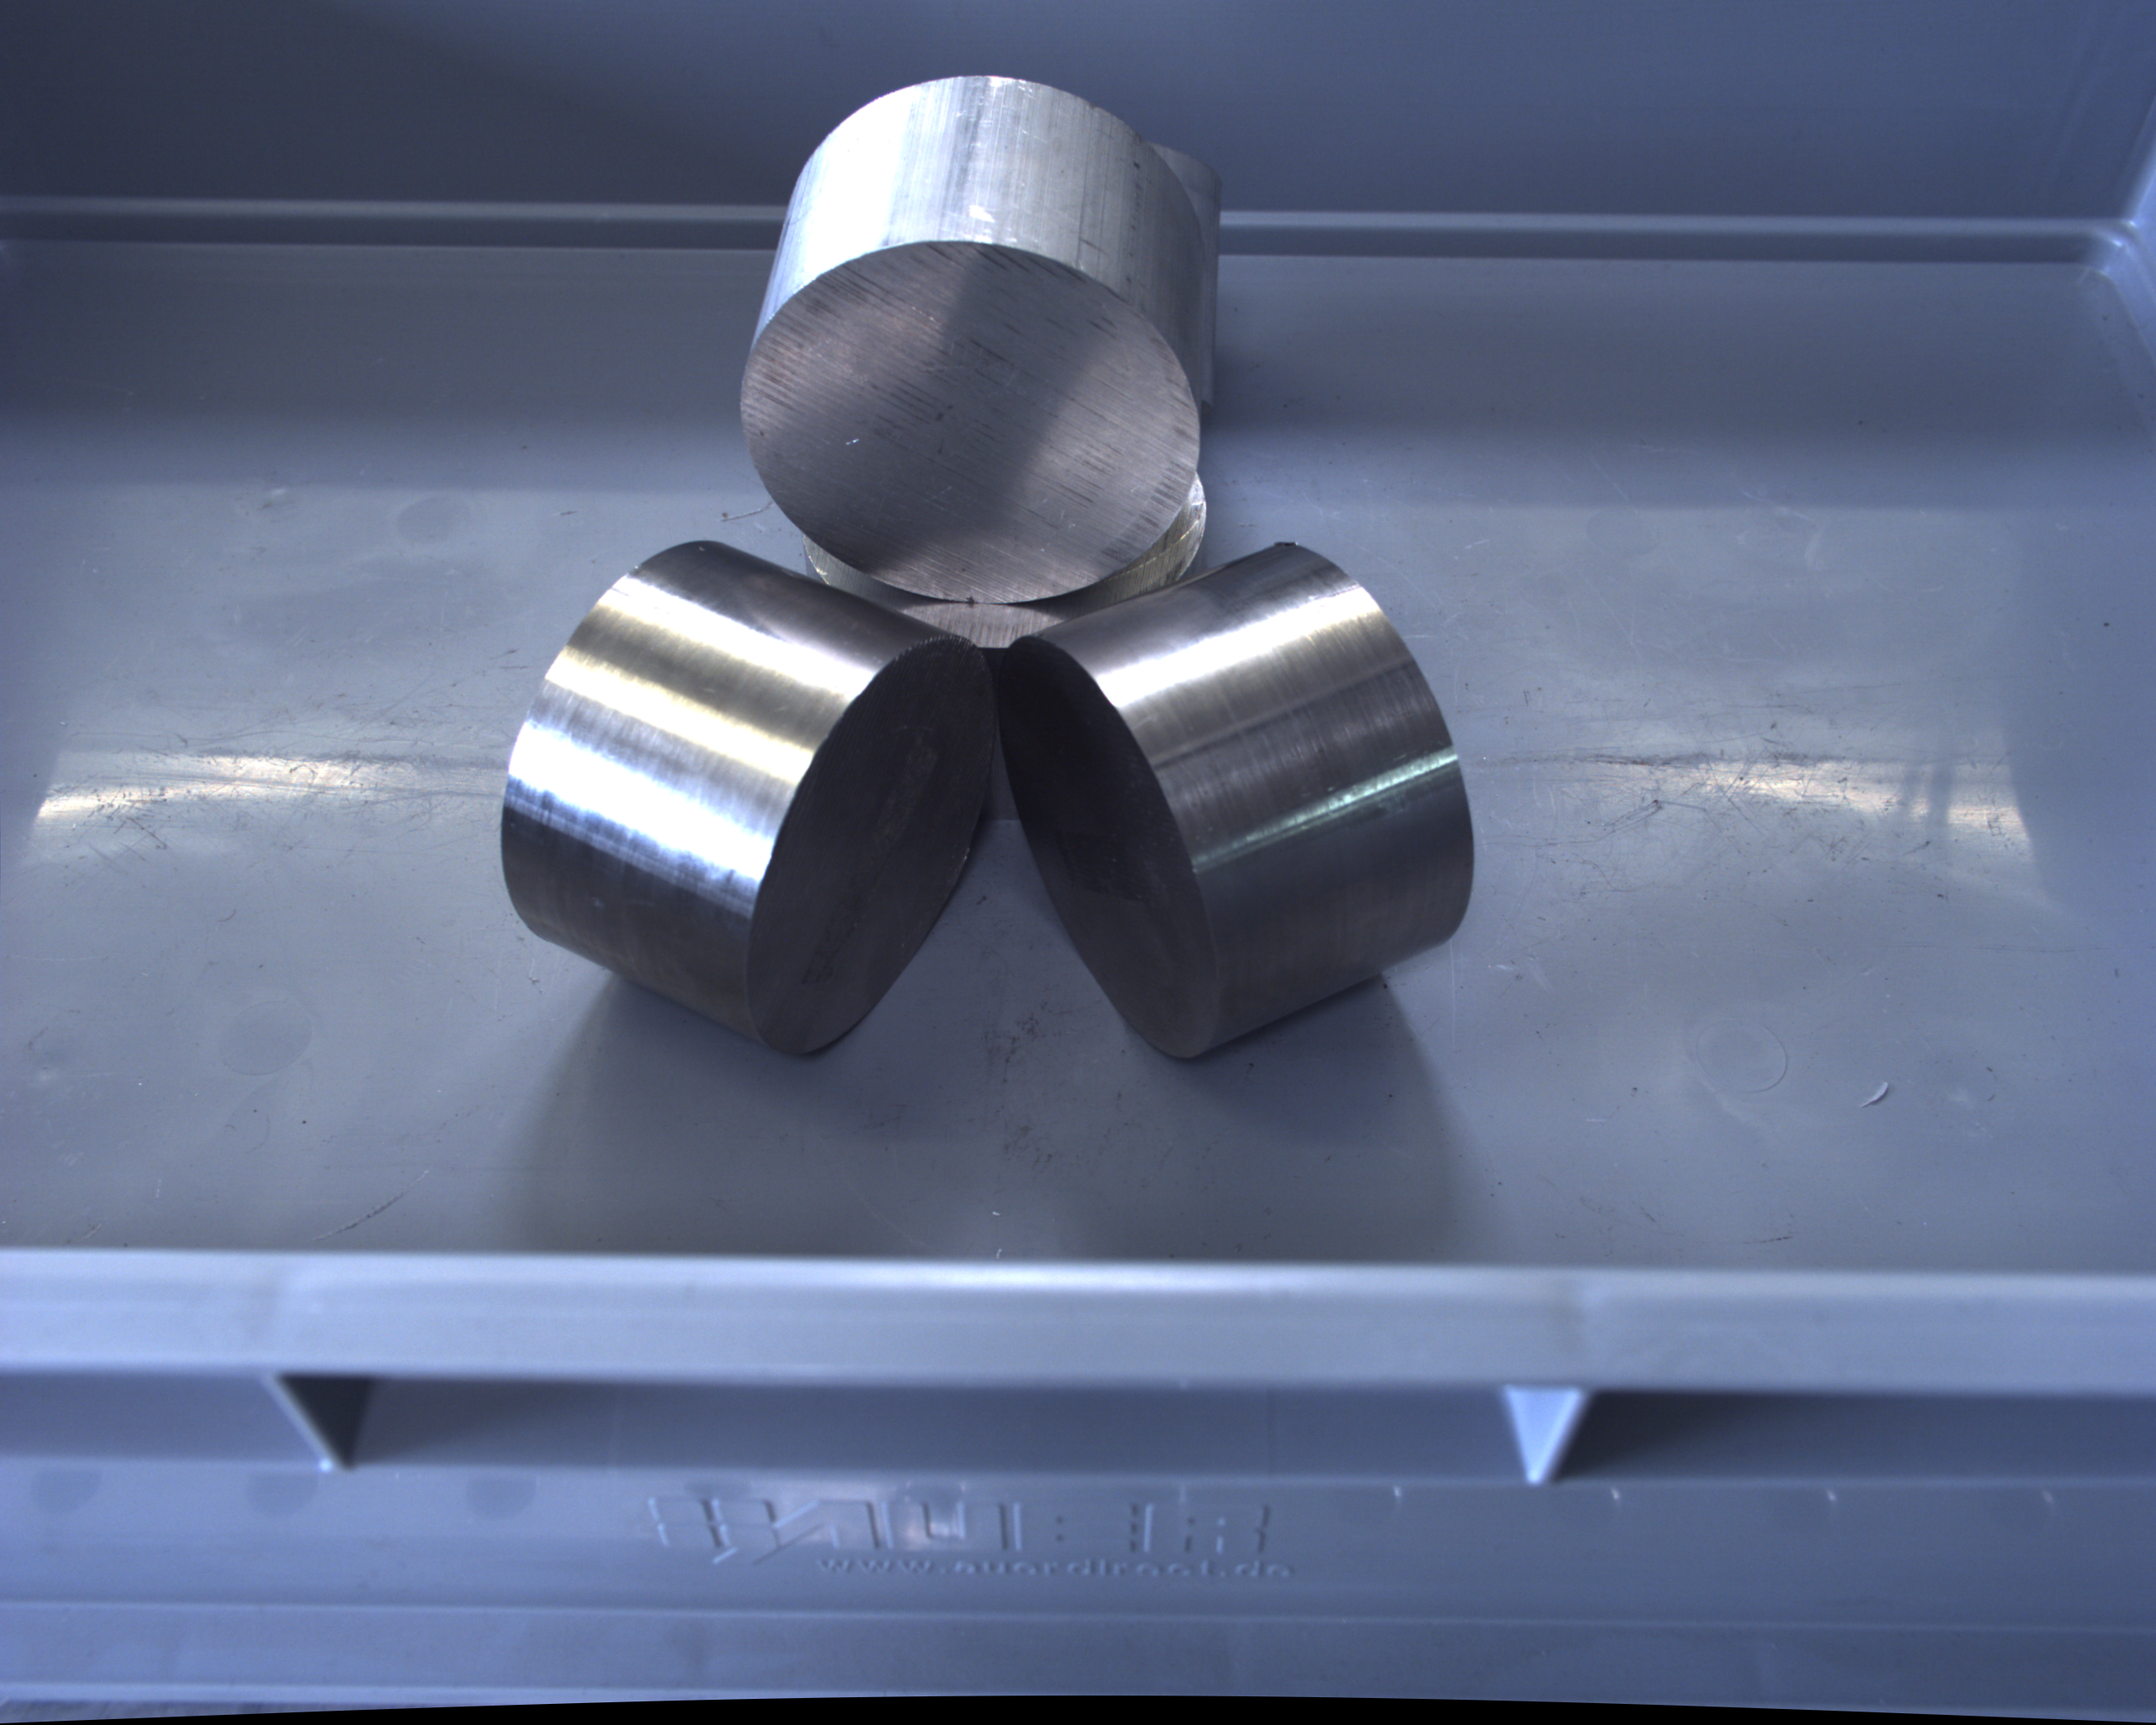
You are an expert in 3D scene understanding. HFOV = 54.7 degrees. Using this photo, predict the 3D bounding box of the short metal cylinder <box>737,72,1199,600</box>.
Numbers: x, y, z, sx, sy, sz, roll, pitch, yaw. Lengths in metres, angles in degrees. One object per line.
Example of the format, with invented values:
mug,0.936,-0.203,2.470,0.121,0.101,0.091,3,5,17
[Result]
short metal cylinder,-0.018,-0.094,0.381,0.080,0.080,0.050,2,50,2

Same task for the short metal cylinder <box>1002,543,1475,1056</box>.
short metal cylinder,0.027,-0.012,0.377,0.050,0.080,0.080,-23,54,-17

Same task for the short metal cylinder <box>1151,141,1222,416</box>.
short metal cylinder,-0.009,-0.128,0.466,0.080,0.080,0.050,3,93,2

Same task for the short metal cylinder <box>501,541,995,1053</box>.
short metal cylinder,-0.057,-0.012,0.377,0.050,0.080,0.080,23,54,18

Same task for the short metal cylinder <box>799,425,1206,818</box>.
short metal cylinder,-0.015,-0.056,0.432,0.080,0.050,0.080,0,50,0
